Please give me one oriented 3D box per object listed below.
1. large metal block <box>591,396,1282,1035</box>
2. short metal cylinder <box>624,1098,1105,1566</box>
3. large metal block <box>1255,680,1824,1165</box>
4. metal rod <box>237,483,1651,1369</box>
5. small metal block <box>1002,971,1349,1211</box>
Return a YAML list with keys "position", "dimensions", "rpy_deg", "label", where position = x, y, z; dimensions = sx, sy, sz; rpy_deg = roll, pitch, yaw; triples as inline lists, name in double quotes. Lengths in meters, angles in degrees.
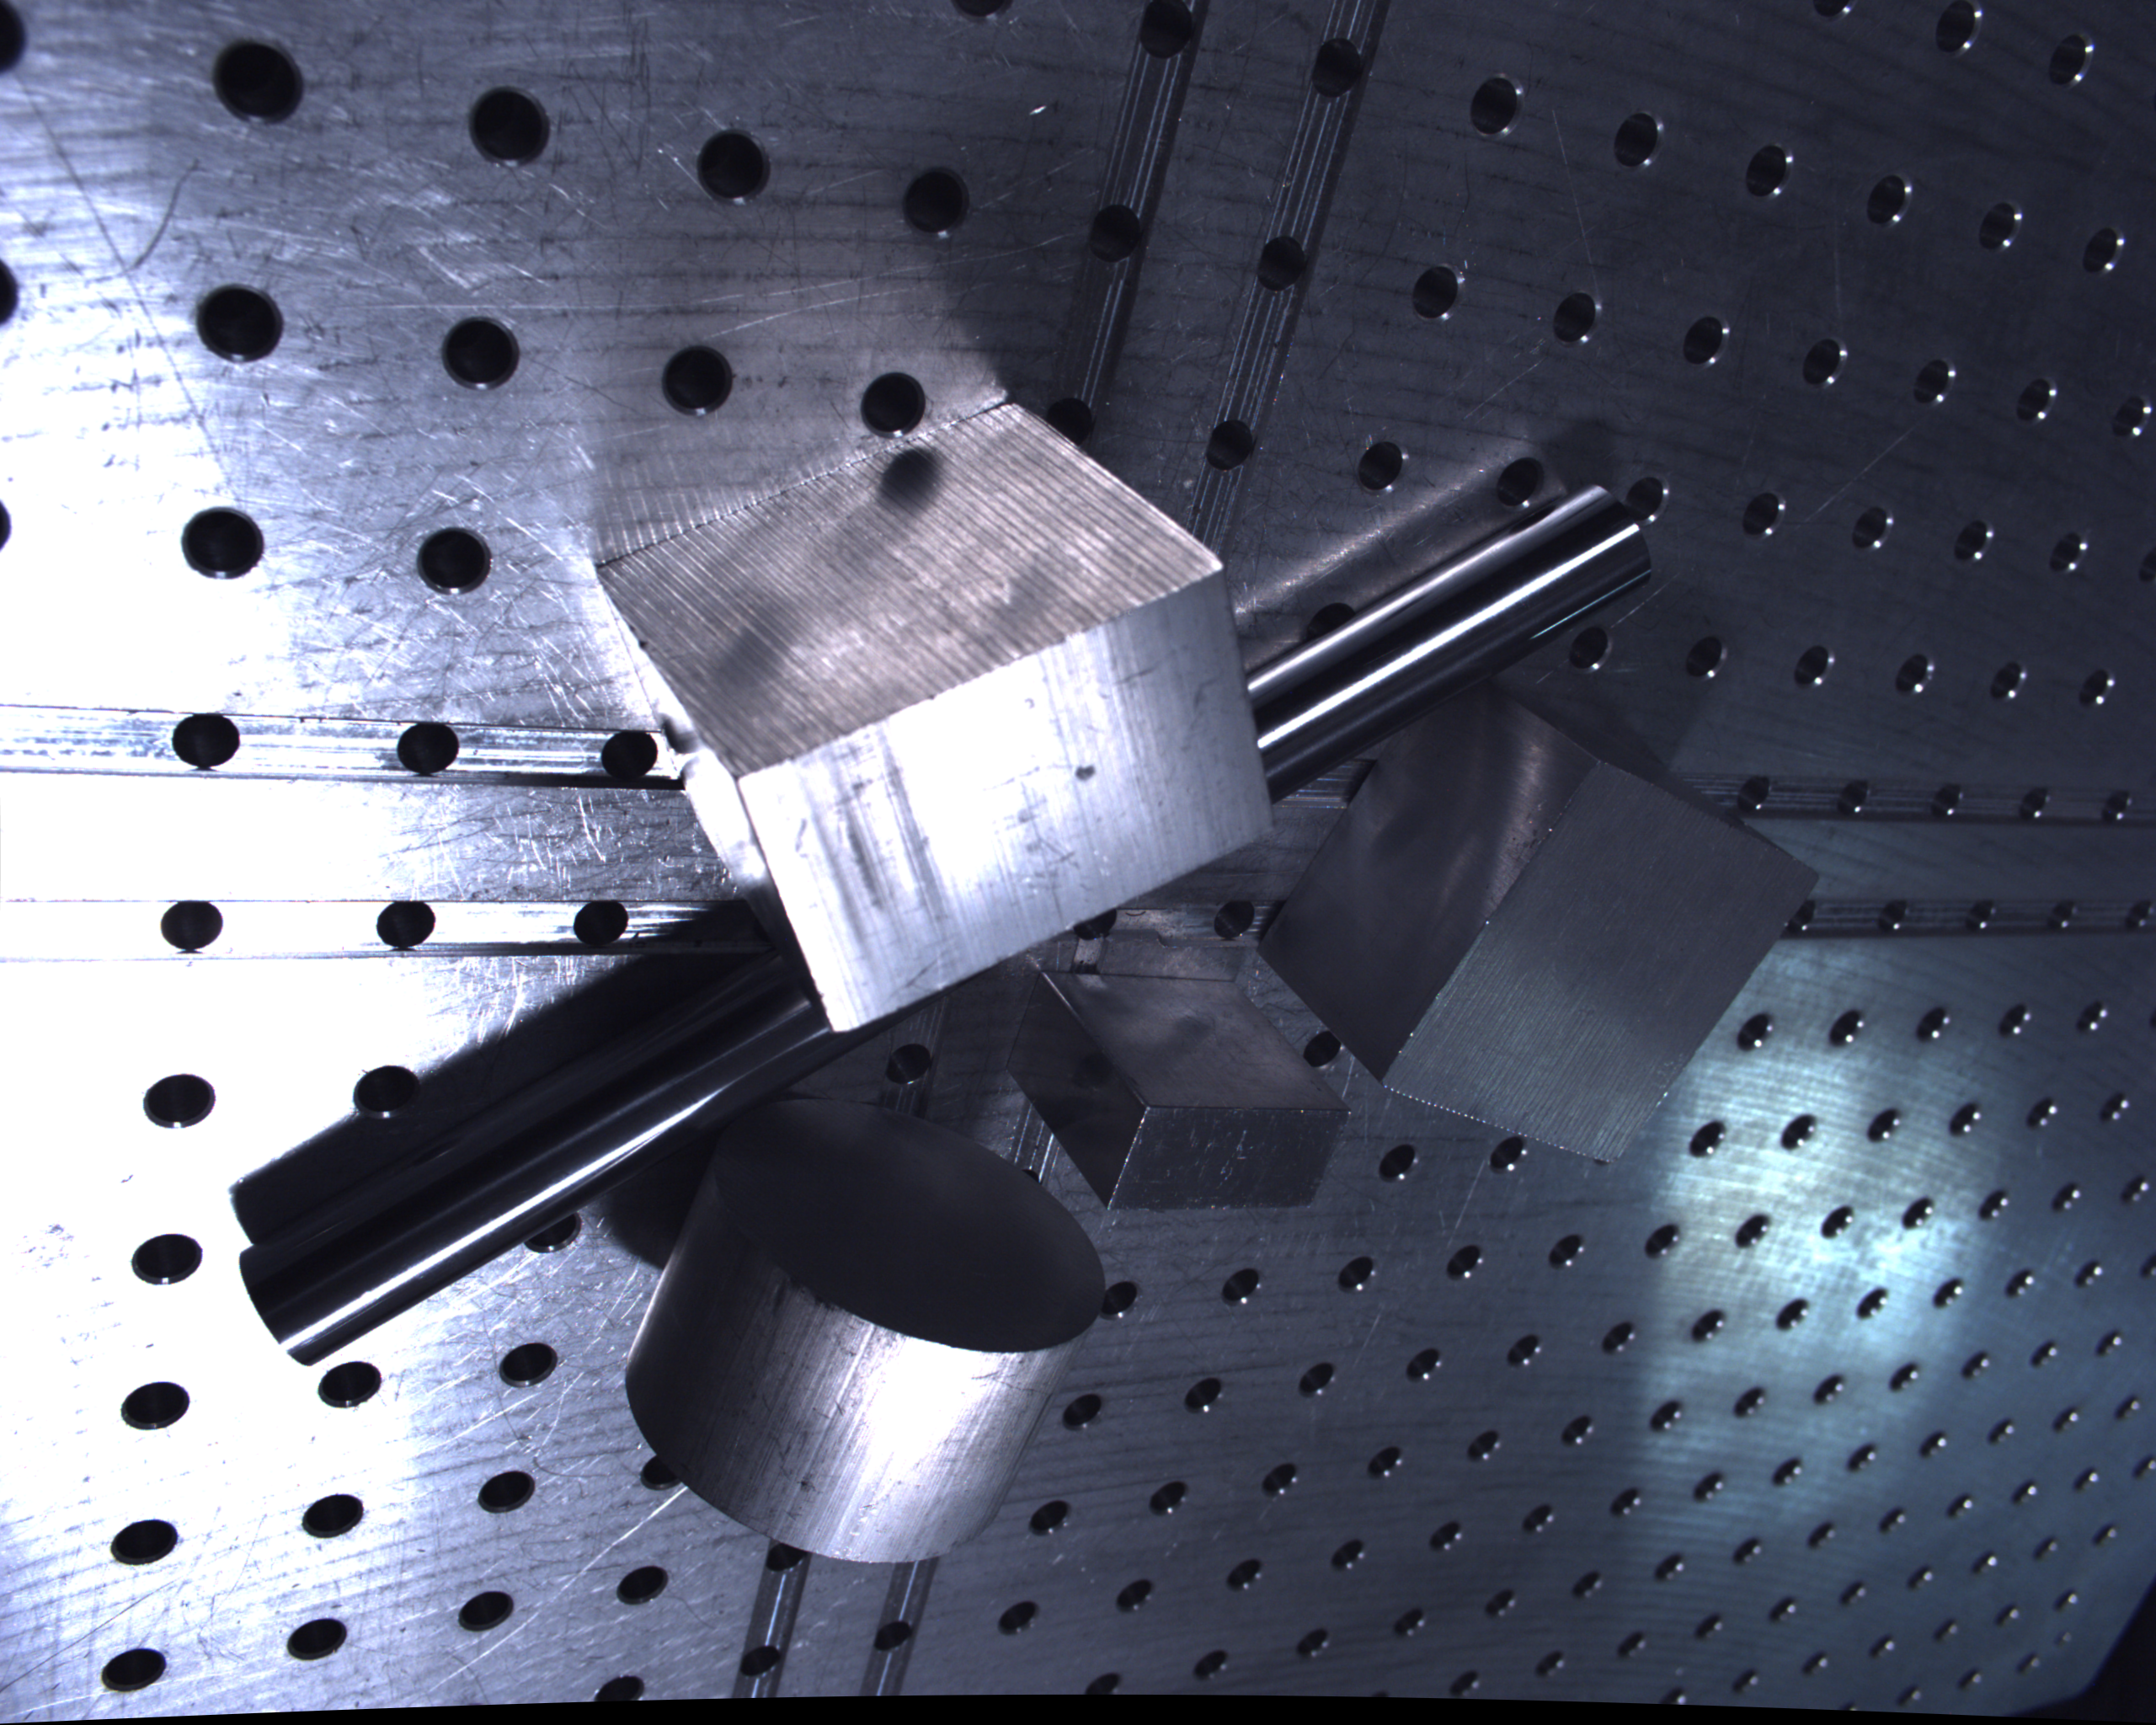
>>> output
- position: [-0.025, -0.028, 0.347]
  dimensions: [0.080, 0.080, 0.050]
  rpy_deg: [-25, 128, -13]
  label: "large metal block"
- position: [-0.042, 0.090, 0.409]
  dimensions: [0.081, 0.080, 0.050]
  rpy_deg: [12, 112, -34]
  label: "short metal cylinder"
- position: [0.100, 0.012, 0.456]
  dimensions: [0.080, 0.050, 0.080]
  rpy_deg: [21, 107, -36]
  label: "large metal block"
- position: [-0.018, 0.007, 0.406]
  dimensions: [0.301, 0.025, 0.025]
  rpy_deg: [-30, 129, -9]
  label: "metal rod"
- position: [0.020, 0.048, 0.437]
  dimensions: [0.050, 0.050, 0.025]
  rpy_deg: [5, 116, -31]
  label: "small metal block"
